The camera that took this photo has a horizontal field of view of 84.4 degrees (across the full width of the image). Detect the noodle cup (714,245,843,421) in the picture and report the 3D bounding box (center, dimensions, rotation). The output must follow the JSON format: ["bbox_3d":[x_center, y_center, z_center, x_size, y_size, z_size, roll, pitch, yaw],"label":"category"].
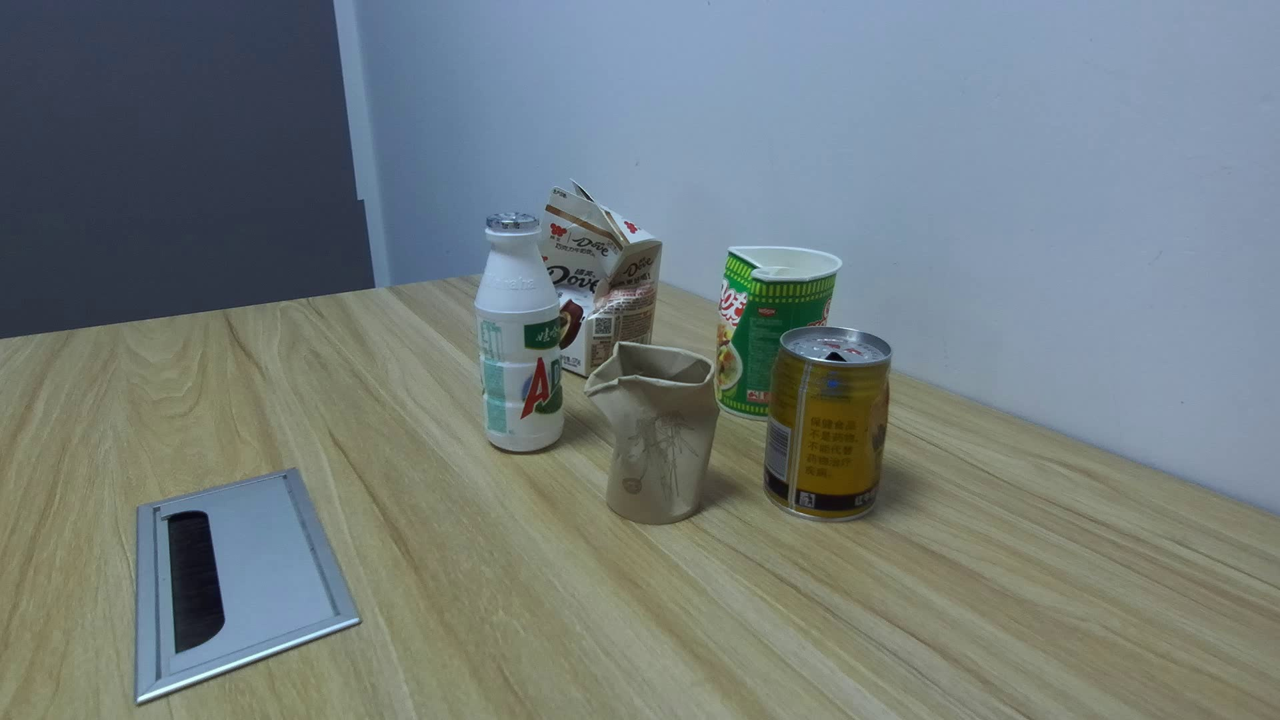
[{"bbox_3d":[0.095,-0.018,0.502,0.086,0.109,0.094,6,22,16],"label":"noodle cup"}]

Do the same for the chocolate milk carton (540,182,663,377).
[{"bbox_3d":[-0.039,-0.063,0.574,0.089,0.155,0.077,32,40,31],"label":"chocolate milk carton"}]

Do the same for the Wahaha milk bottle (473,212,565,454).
[{"bbox_3d":[-0.076,-0.016,0.448,0.053,0.147,0.053,0,19,0],"label":"Wahaha milk bottle"}]

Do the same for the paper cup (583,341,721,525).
[{"bbox_3d":[0.005,0.042,0.386,0.066,0.083,0.058,9,26,27],"label":"paper cup"}]

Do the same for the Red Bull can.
[{"bbox_3d":[0.105,0.033,0.396,0.068,0.093,0.068,0,22,0],"label":"Red Bull can"}]
